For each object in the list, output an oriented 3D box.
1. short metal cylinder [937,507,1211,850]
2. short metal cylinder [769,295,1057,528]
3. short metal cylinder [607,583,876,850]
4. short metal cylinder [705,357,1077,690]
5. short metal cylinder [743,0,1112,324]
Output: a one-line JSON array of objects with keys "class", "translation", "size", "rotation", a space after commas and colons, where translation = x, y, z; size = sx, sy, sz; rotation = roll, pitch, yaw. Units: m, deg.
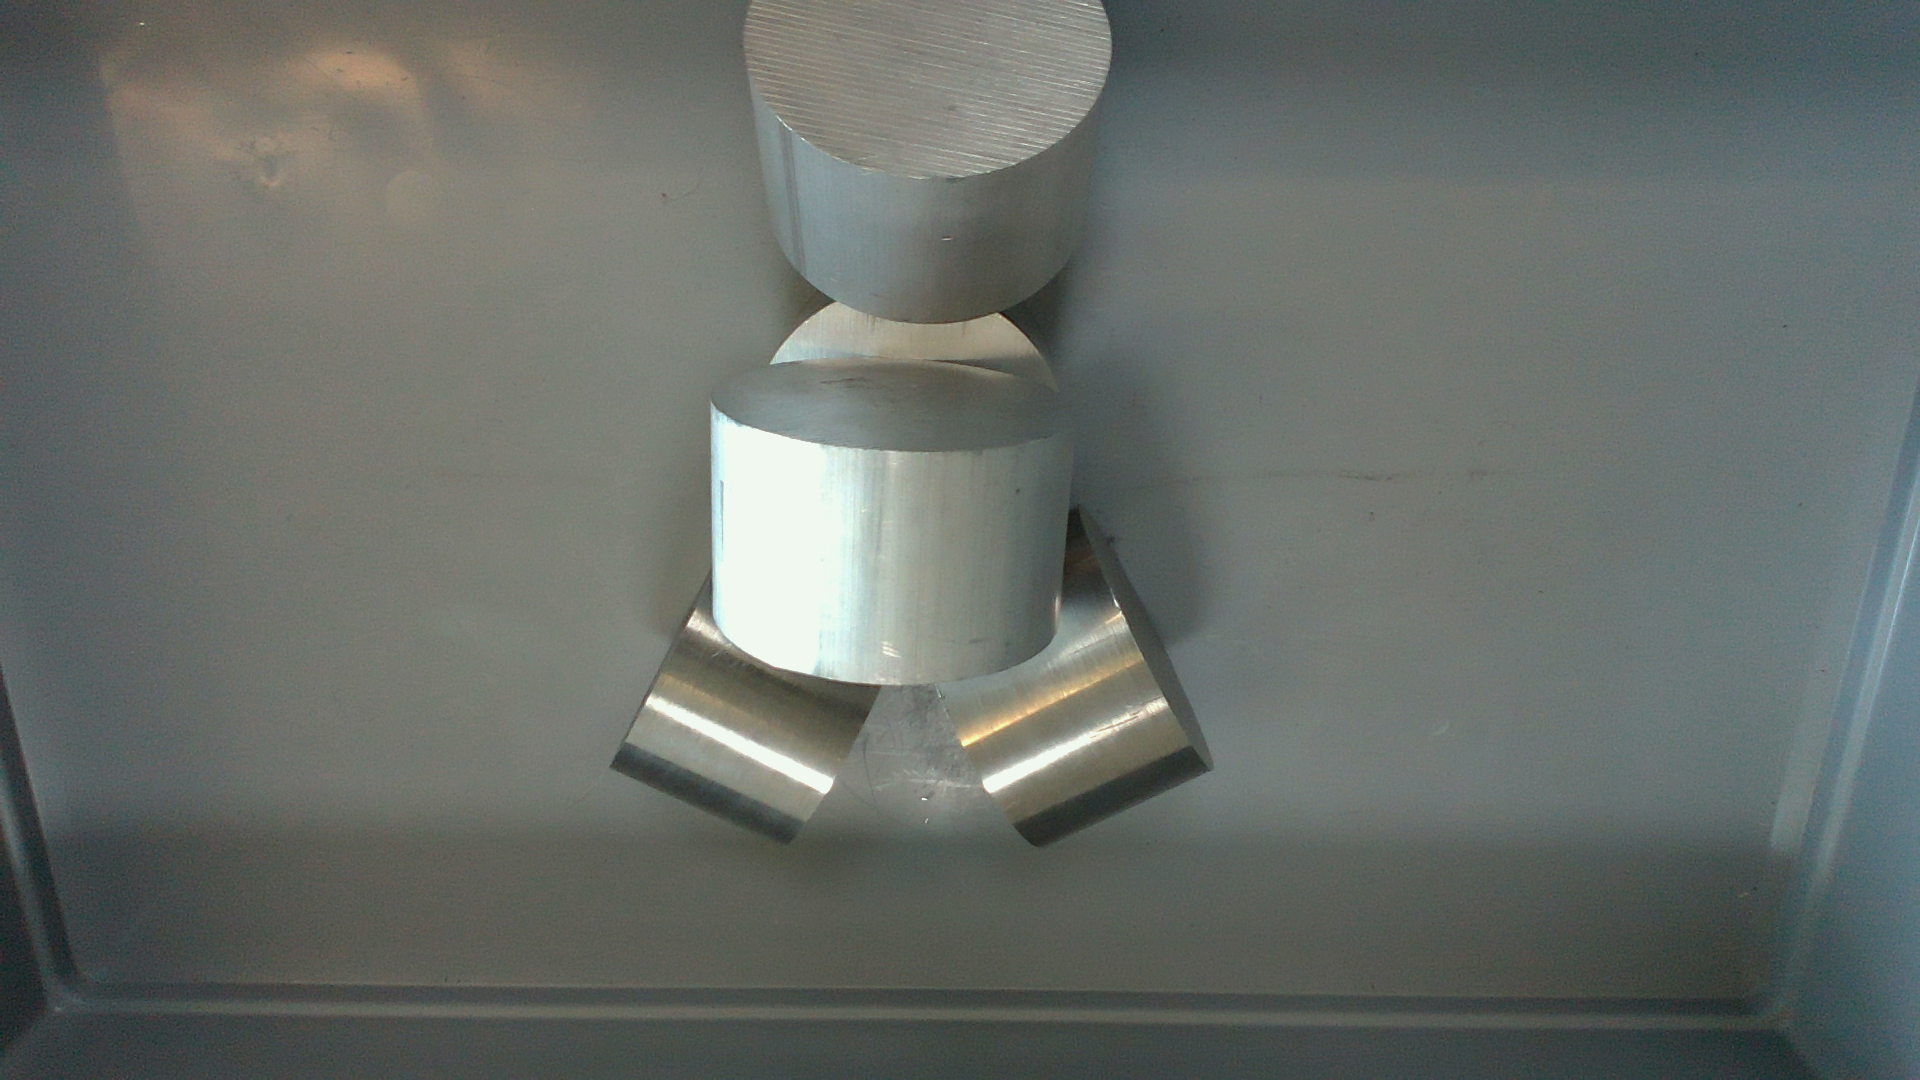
[{"class": "short metal cylinder", "translation": [0.029, 0.037, 0.377], "size": [0.050, 0.080, 0.080], "rotation": [-27, 108, 10]}, {"class": "short metal cylinder", "translation": [-0.013, -0.032, 0.366], "size": [0.080, 0.050, 0.080], "rotation": [0, 110, 0]}, {"class": "short metal cylinder", "translation": [-0.055, 0.037, 0.377], "size": [0.050, 0.080, 0.080], "rotation": [27, 108, -9]}, {"class": "short metal cylinder", "translation": [-0.016, -0.007, 0.307], "size": [0.080, 0.080, 0.050], "rotation": [3, 110, -1]}, {"class": "short metal cylinder", "translation": [-0.008, -0.098, 0.320], "size": [0.080, 0.080, 0.050], "rotation": [4, 153, -1]}]
